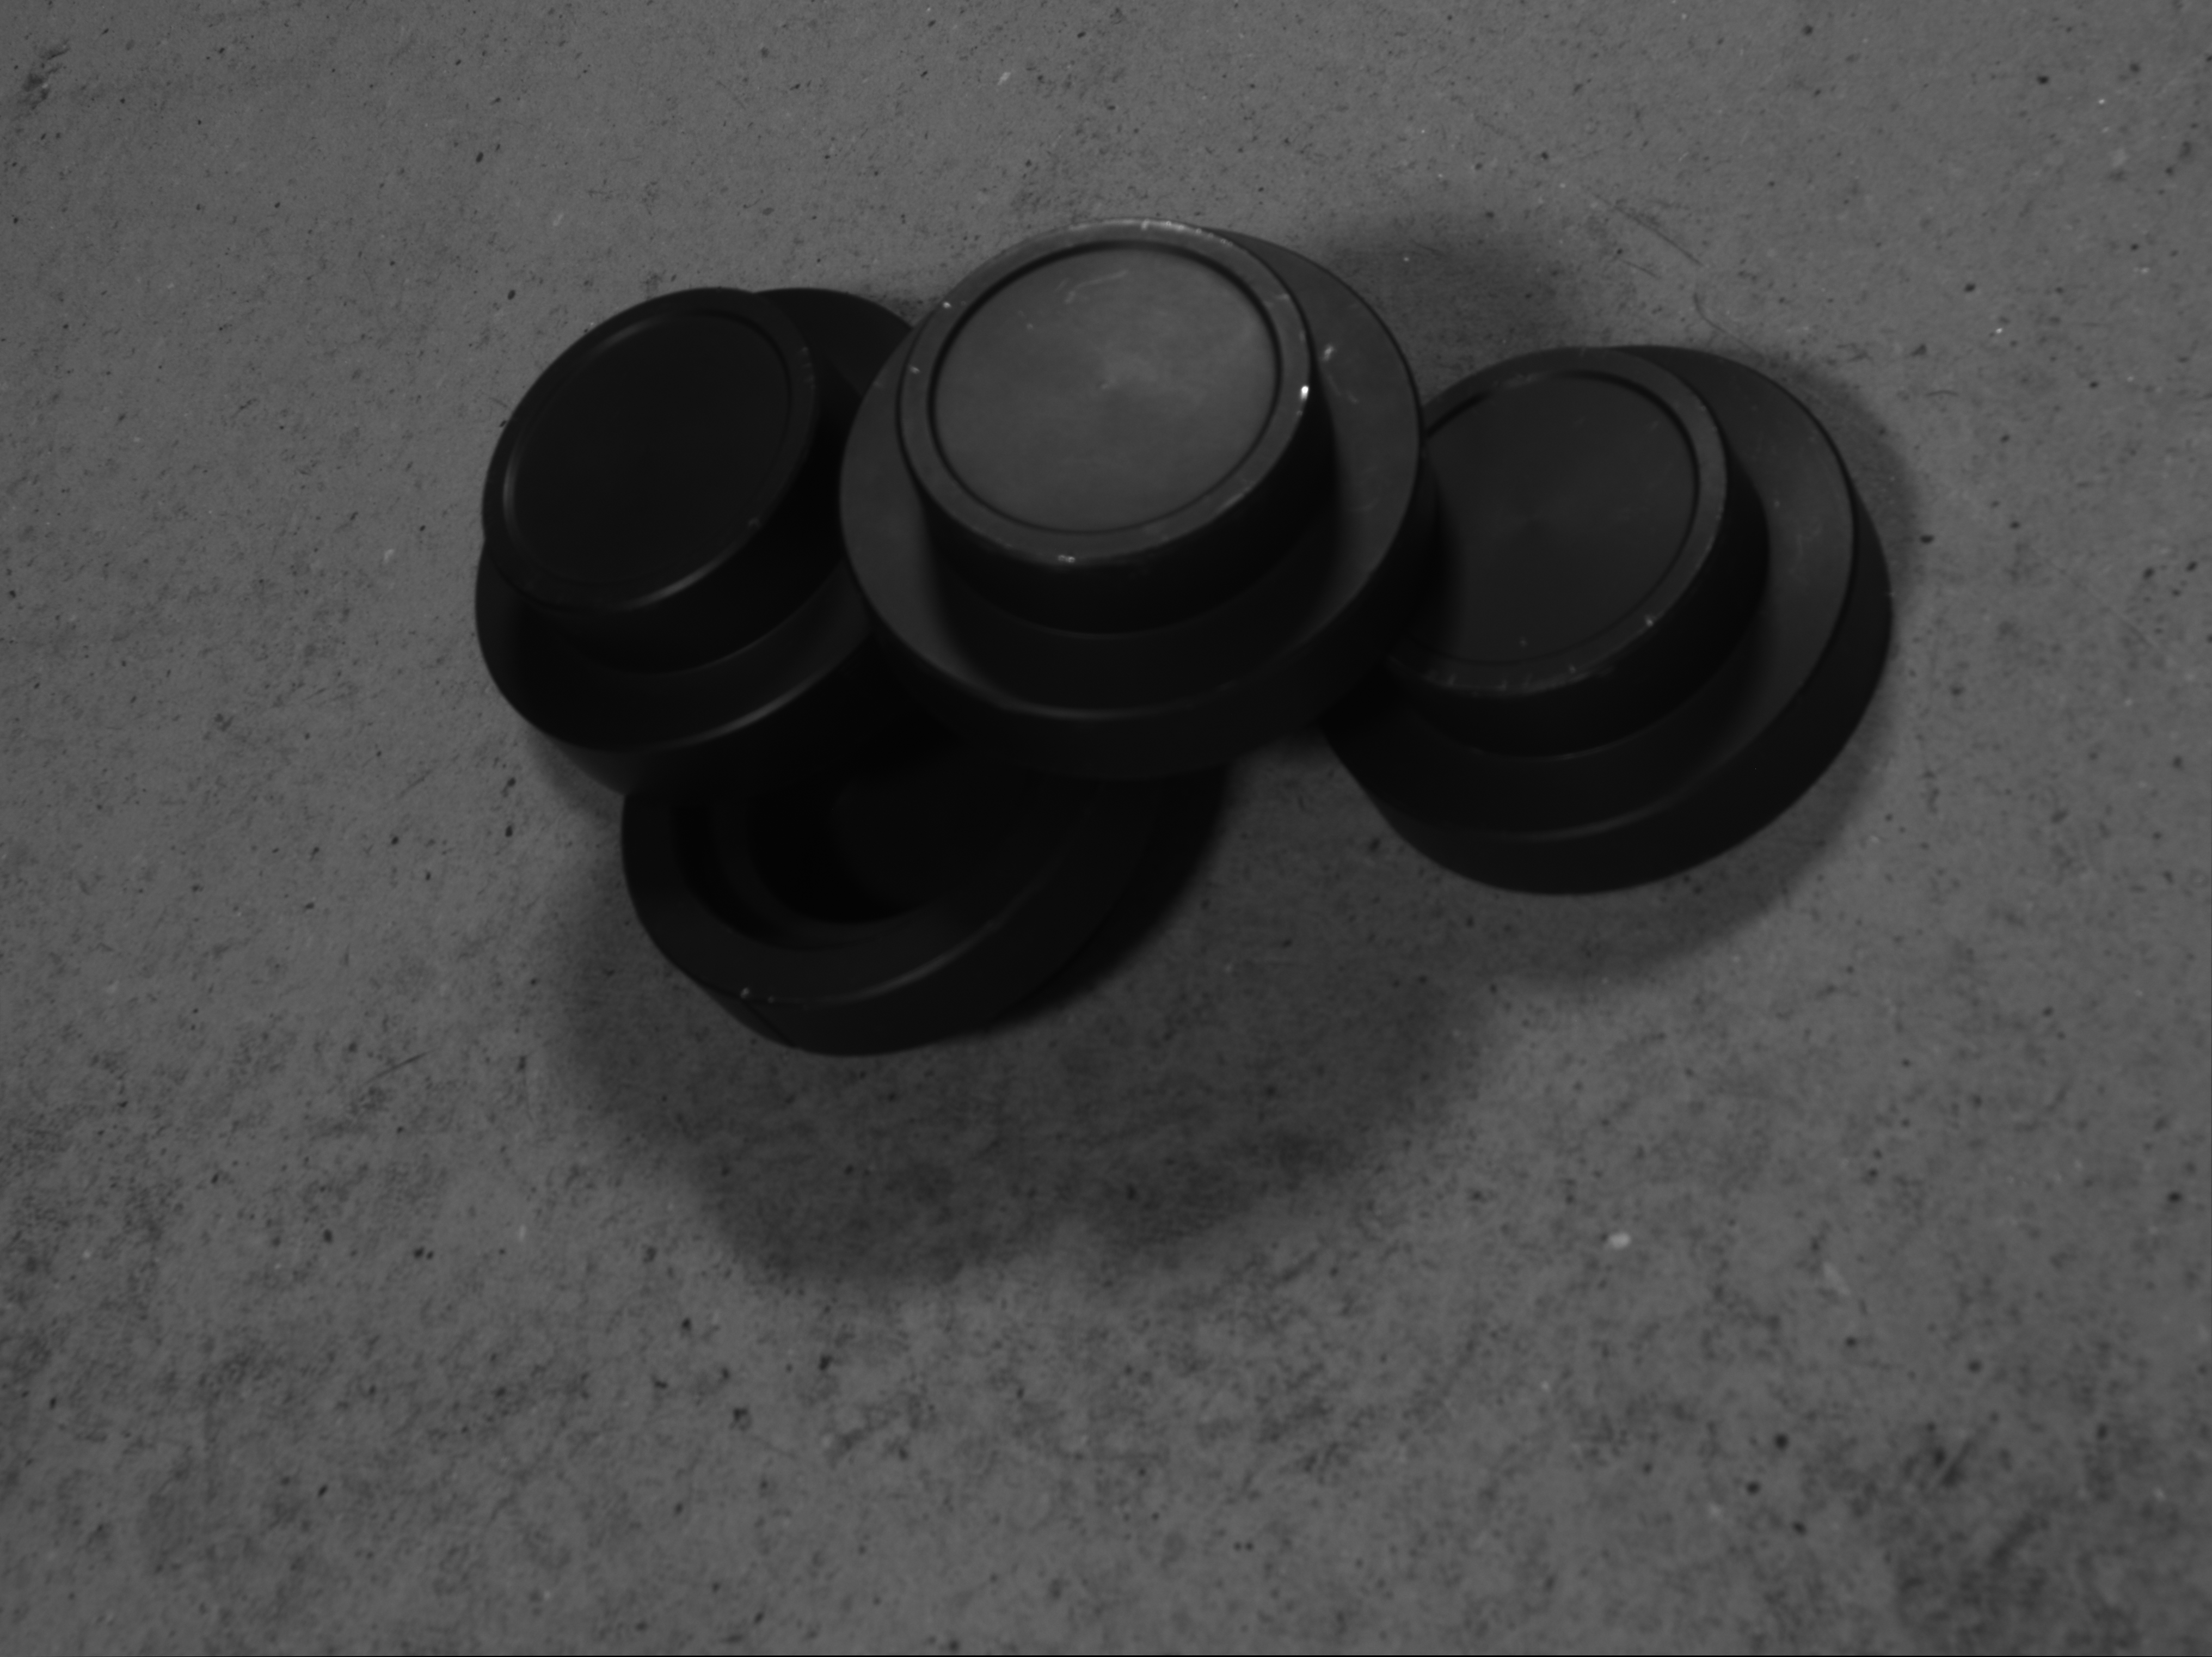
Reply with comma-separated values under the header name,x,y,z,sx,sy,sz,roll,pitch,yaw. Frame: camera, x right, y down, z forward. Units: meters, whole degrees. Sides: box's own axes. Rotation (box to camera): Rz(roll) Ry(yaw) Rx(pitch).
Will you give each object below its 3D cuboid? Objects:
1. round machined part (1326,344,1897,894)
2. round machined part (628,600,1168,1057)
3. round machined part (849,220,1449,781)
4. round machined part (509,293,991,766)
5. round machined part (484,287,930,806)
name,x,y,z,sx,sy,sz,roll,pitch,yaw
round machined part,0.079,-0.042,0.616,0.098,0.042,0.098,-13,56,21
round machined part,-0.033,-0.003,0.653,0.098,0.042,0.098,-13,56,21
round machined part,0.005,-0.060,0.600,0.098,0.042,0.098,-6,60,10
round machined part,-0.075,-0.065,0.713,0.098,0.042,0.098,-13,56,21
round machined part,-0.070,-0.057,0.651,0.098,0.042,0.098,-13,56,21
